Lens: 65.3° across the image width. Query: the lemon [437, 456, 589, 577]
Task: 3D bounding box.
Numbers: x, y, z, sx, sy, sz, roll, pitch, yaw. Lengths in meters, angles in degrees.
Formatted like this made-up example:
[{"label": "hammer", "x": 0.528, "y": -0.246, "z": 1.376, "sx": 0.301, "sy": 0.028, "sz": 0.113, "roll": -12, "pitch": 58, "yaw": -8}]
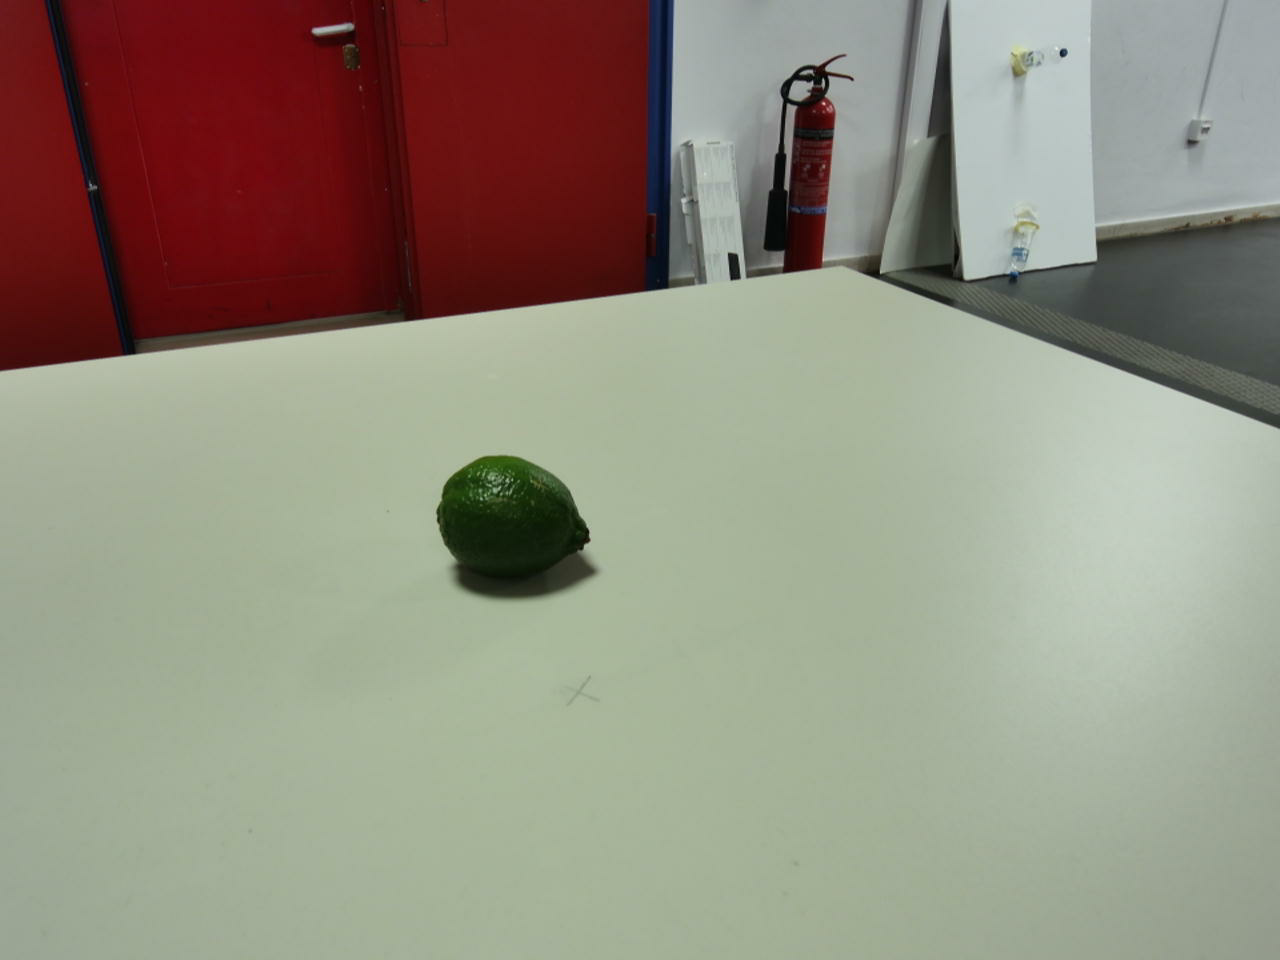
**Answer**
[{"label": "lemon", "x": -0.056, "y": 0.015, "z": 0.420, "sx": 0.057, "sy": 0.051, "sz": 0.054, "roll": -13, "pitch": 27, "yaw": -27}]
